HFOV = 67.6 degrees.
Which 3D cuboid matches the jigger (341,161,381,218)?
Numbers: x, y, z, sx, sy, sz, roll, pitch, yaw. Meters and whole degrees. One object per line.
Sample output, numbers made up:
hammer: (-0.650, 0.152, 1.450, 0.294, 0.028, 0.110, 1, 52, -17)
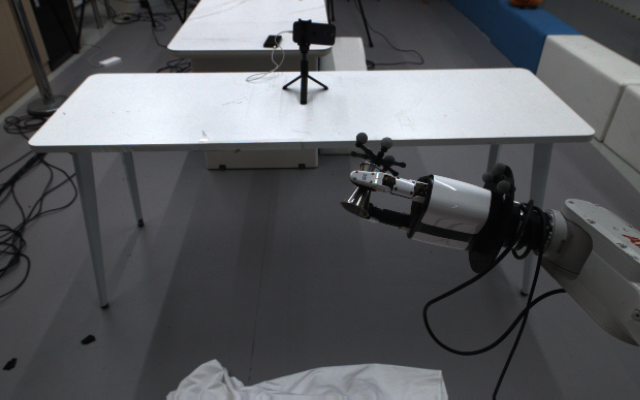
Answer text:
jigger: (0.062, -0.018, 0.691, 0.043, 0.043, 0.071, 19, 72, 23)
